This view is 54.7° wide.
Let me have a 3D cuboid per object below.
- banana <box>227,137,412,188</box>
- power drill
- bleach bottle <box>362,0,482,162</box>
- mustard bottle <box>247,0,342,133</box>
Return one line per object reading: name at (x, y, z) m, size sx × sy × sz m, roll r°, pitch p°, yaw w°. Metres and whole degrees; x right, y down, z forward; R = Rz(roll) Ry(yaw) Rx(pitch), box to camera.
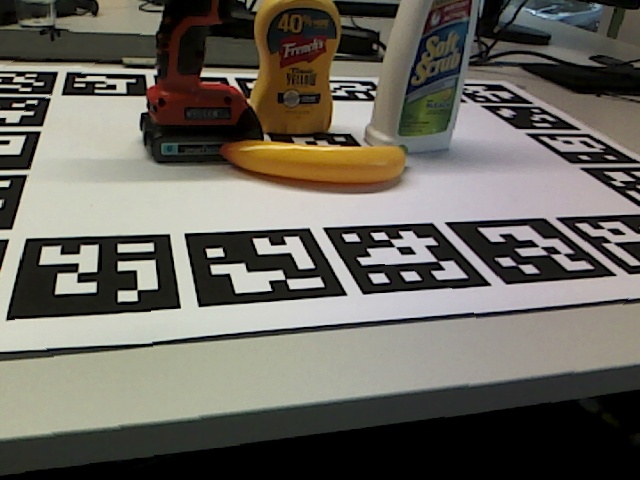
banana at (0.009, -0.079, 0.611) m, size 0.197 × 0.039 × 0.074 m, roll -2°, pitch 36°, yaw -13°
power drill at (-0.104, -0.197, 0.600) m, size 0.184 × 0.187 × 0.058 m, roll -2°, pitch 25°, yaw -21°
bleach bottle at (0.116, -0.210, 0.668) m, size 0.102 × 0.250 × 0.068 m, roll -7°, pitch 35°, yaw -24°
mustard bottle at (-0.026, -0.217, 0.689) m, size 0.096 × 0.191 × 0.059 m, roll -1°, pitch 32°, yaw -17°
